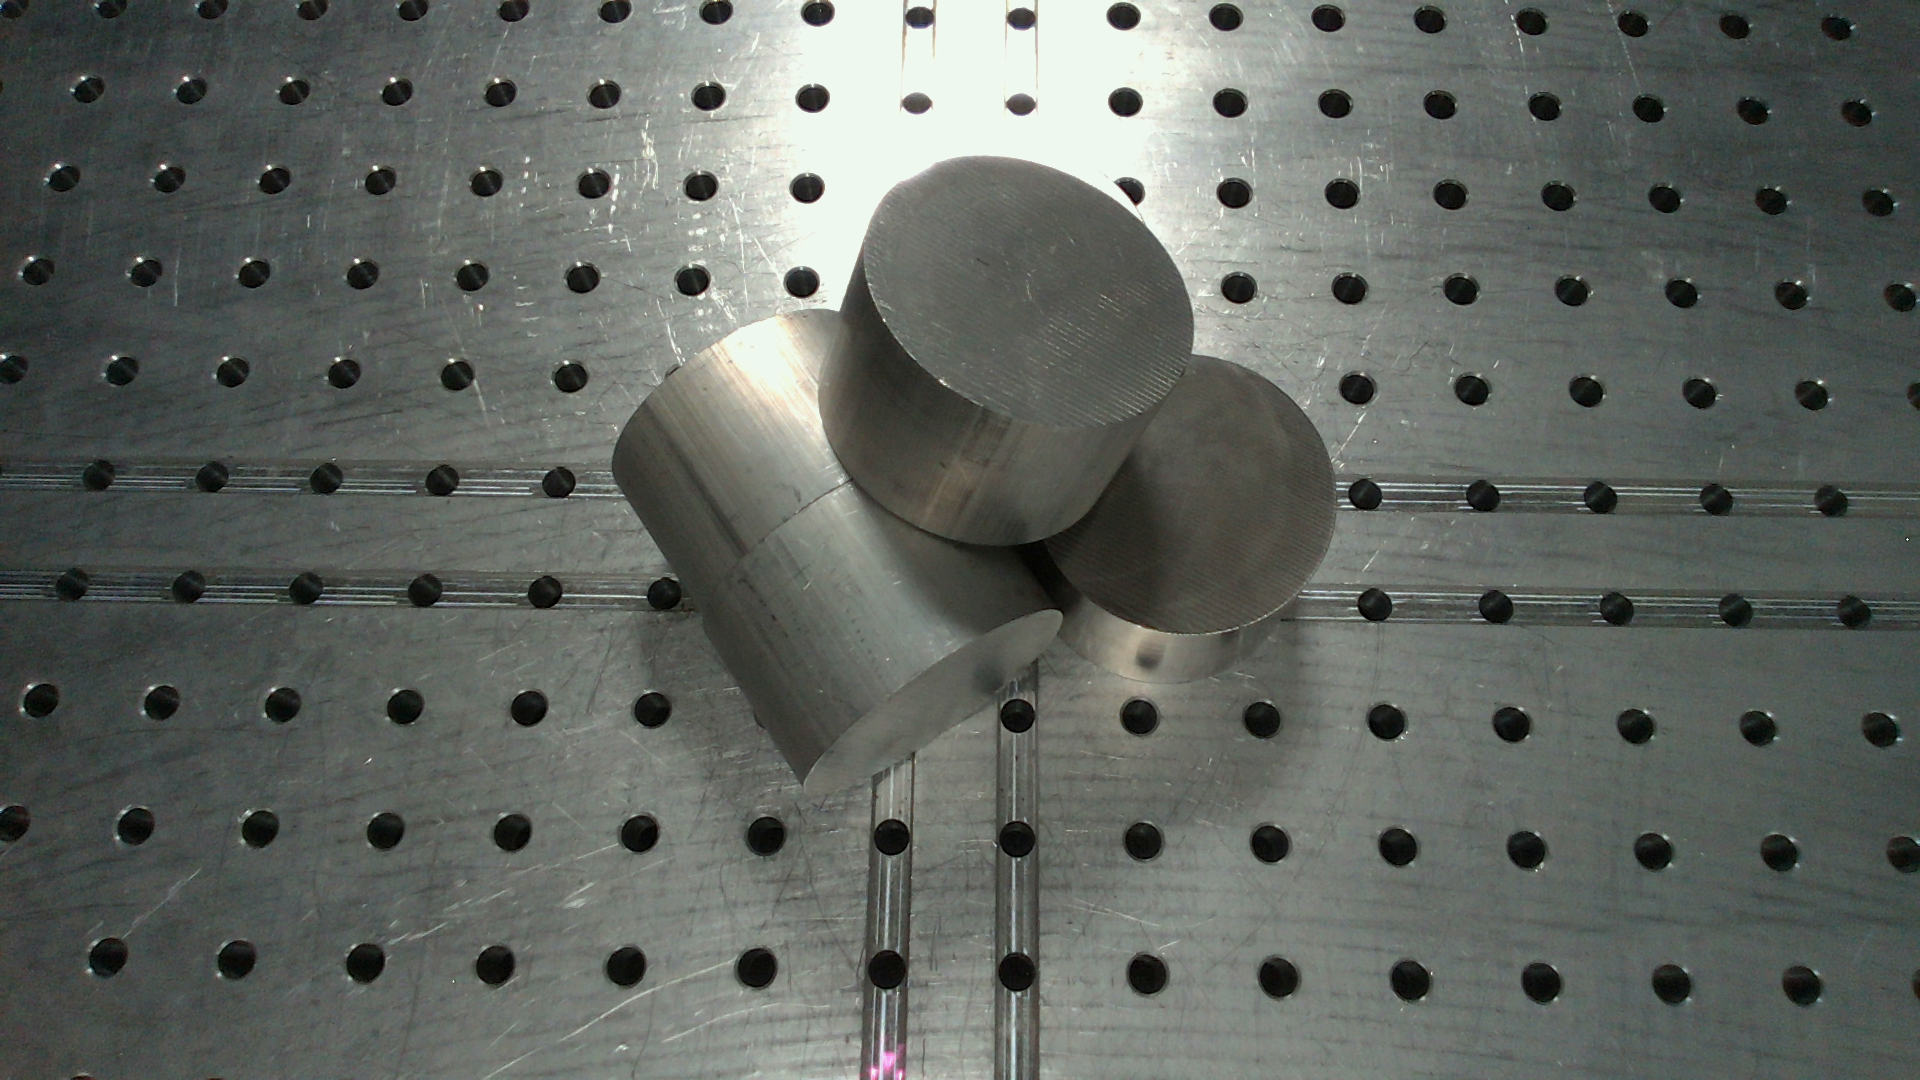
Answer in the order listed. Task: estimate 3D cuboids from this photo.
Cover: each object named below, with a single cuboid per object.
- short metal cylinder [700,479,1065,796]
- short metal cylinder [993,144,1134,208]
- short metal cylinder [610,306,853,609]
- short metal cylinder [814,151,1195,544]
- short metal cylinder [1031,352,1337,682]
[{"bbox_3d":[-0.020,0.023,0.359,0.080,0.080,0.050,-32,73,-11],"label":"short metal cylinder"},{"bbox_3d":[0.014,-0.068,0.408,0.080,0.050,0.080,0,70,0],"label":"short metal cylinder"},{"bbox_3d":[-0.047,-0.017,0.374,0.080,0.080,0.050,-33,73,-11],"label":"short metal cylinder"},{"bbox_3d":[0.009,-0.046,0.332,0.080,0.050,0.080,10,56,-14],"label":"short metal cylinder"},{"bbox_3d":[0.059,-0.005,0.385,0.080,0.050,0.080,0,70,0],"label":"short metal cylinder"}]
